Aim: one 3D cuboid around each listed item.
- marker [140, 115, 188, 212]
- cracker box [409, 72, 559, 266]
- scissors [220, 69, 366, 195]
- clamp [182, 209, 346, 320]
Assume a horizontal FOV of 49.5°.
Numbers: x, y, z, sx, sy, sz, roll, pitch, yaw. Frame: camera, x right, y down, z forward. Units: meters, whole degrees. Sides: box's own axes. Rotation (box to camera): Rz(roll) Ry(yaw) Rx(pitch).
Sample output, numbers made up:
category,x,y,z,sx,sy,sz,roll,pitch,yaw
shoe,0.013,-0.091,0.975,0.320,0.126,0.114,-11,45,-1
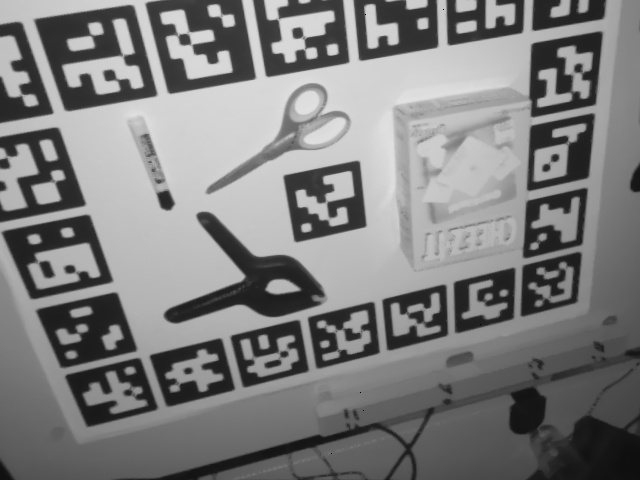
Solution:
category,x,y,z,sx,sy,sz,roll,pitch,yaw
marker,-0.177,-0.085,0.797,0.020,0.020,0.120,-17,122,-4
cracker box,0.205,-0.085,0.864,0.165,0.072,0.212,-12,121,-7
scissors,-0.038,-0.113,0.817,0.201,0.016,0.088,-37,122,11
clamp,-0.060,0.054,0.911,0.205,0.037,0.163,14,116,-20
